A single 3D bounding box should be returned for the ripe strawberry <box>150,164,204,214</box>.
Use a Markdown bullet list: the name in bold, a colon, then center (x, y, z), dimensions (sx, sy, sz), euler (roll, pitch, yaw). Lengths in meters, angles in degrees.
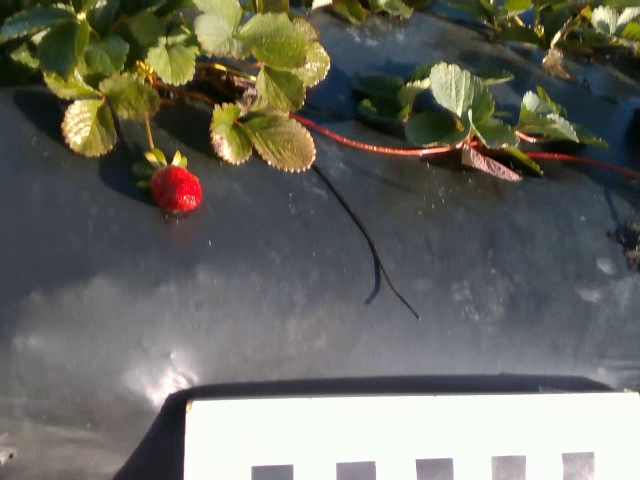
- **ripe strawberry**: center (-0.073, -0.027, 0.322), dimensions (0.028, 0.031, 0.041), euler (-24, 24, -15)
